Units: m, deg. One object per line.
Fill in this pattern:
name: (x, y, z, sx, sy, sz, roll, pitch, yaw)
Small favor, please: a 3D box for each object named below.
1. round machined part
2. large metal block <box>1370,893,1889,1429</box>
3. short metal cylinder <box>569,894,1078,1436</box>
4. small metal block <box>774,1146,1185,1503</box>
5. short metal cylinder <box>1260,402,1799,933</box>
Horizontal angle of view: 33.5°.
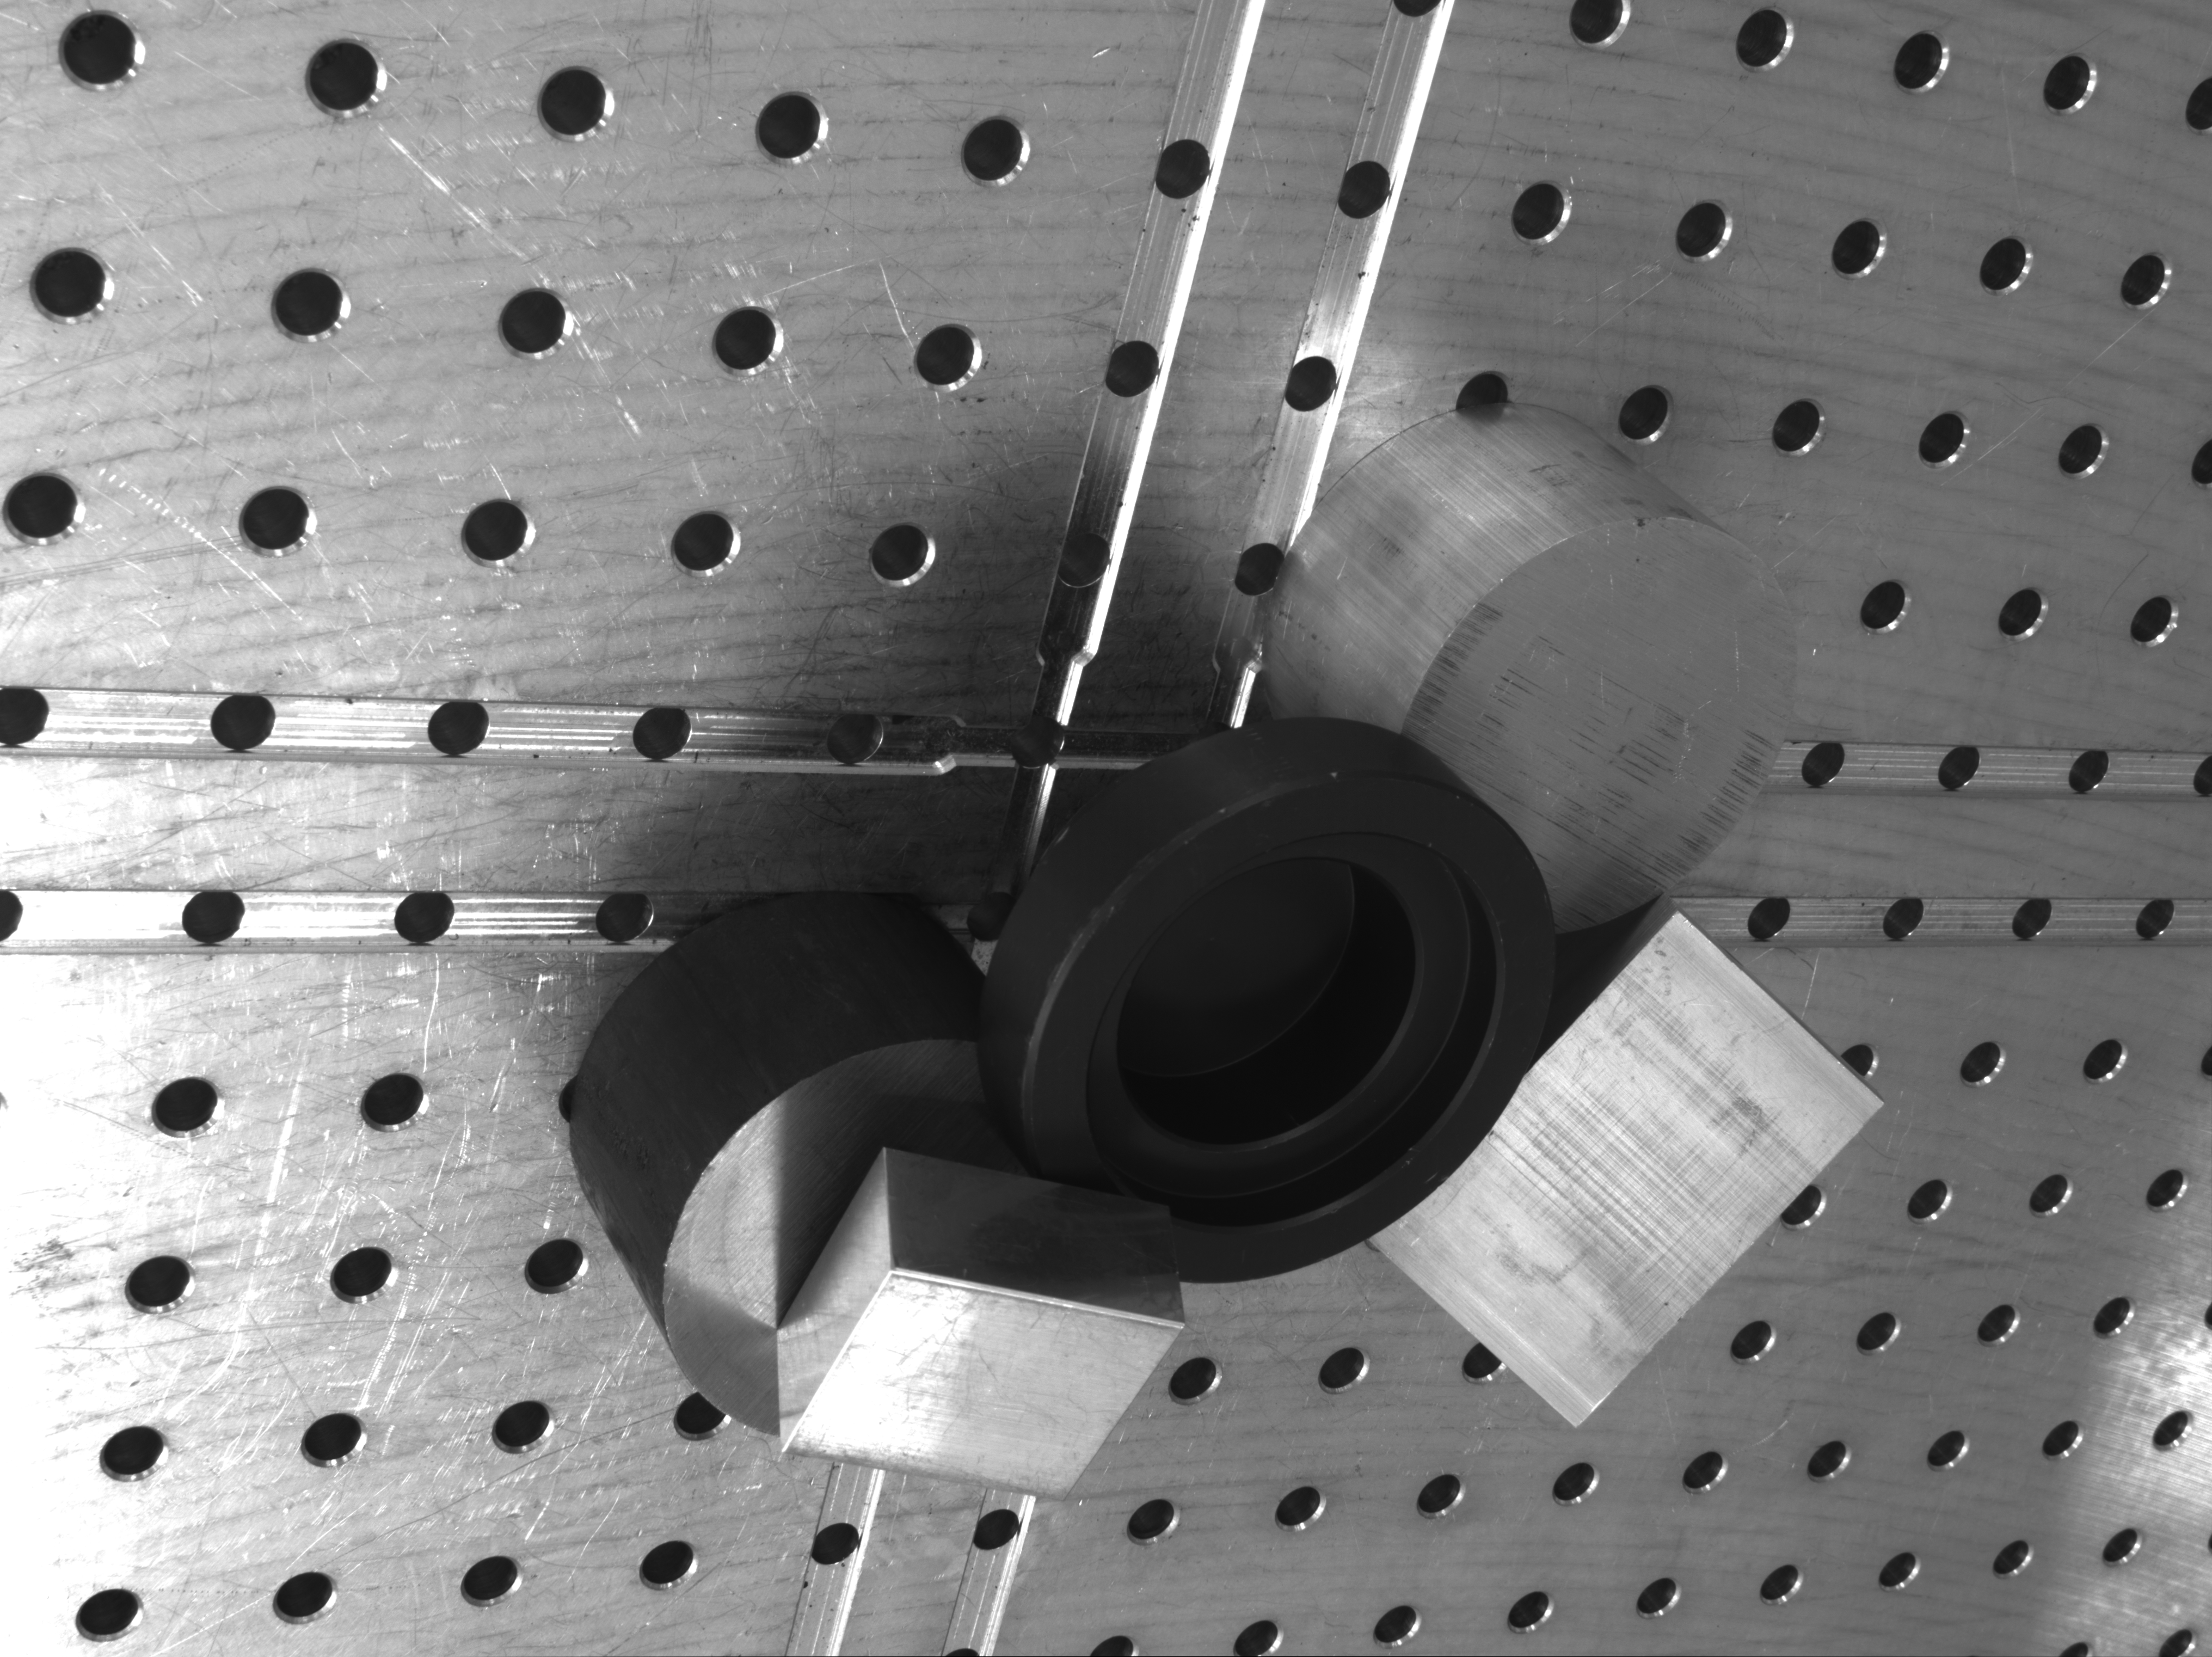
round machined part: (0.023, 0.024, 0.619, 0.098, 0.042, 0.098, -13, 124, -21)
large metal block: (0.090, 0.055, 0.679, 0.050, 0.080, 0.080, 42, 95, -4)
short metal cylinder: (-0.047, 0.058, 0.635, 0.080, 0.050, 0.080, -13, 124, -21)
small metal block: (-0.021, 0.082, 0.599, 0.050, 0.025, 0.050, 13, 131, -21)
short metal cylinder: (0.074, -0.028, 0.647, 0.080, 0.050, 0.080, -13, 124, -21)
